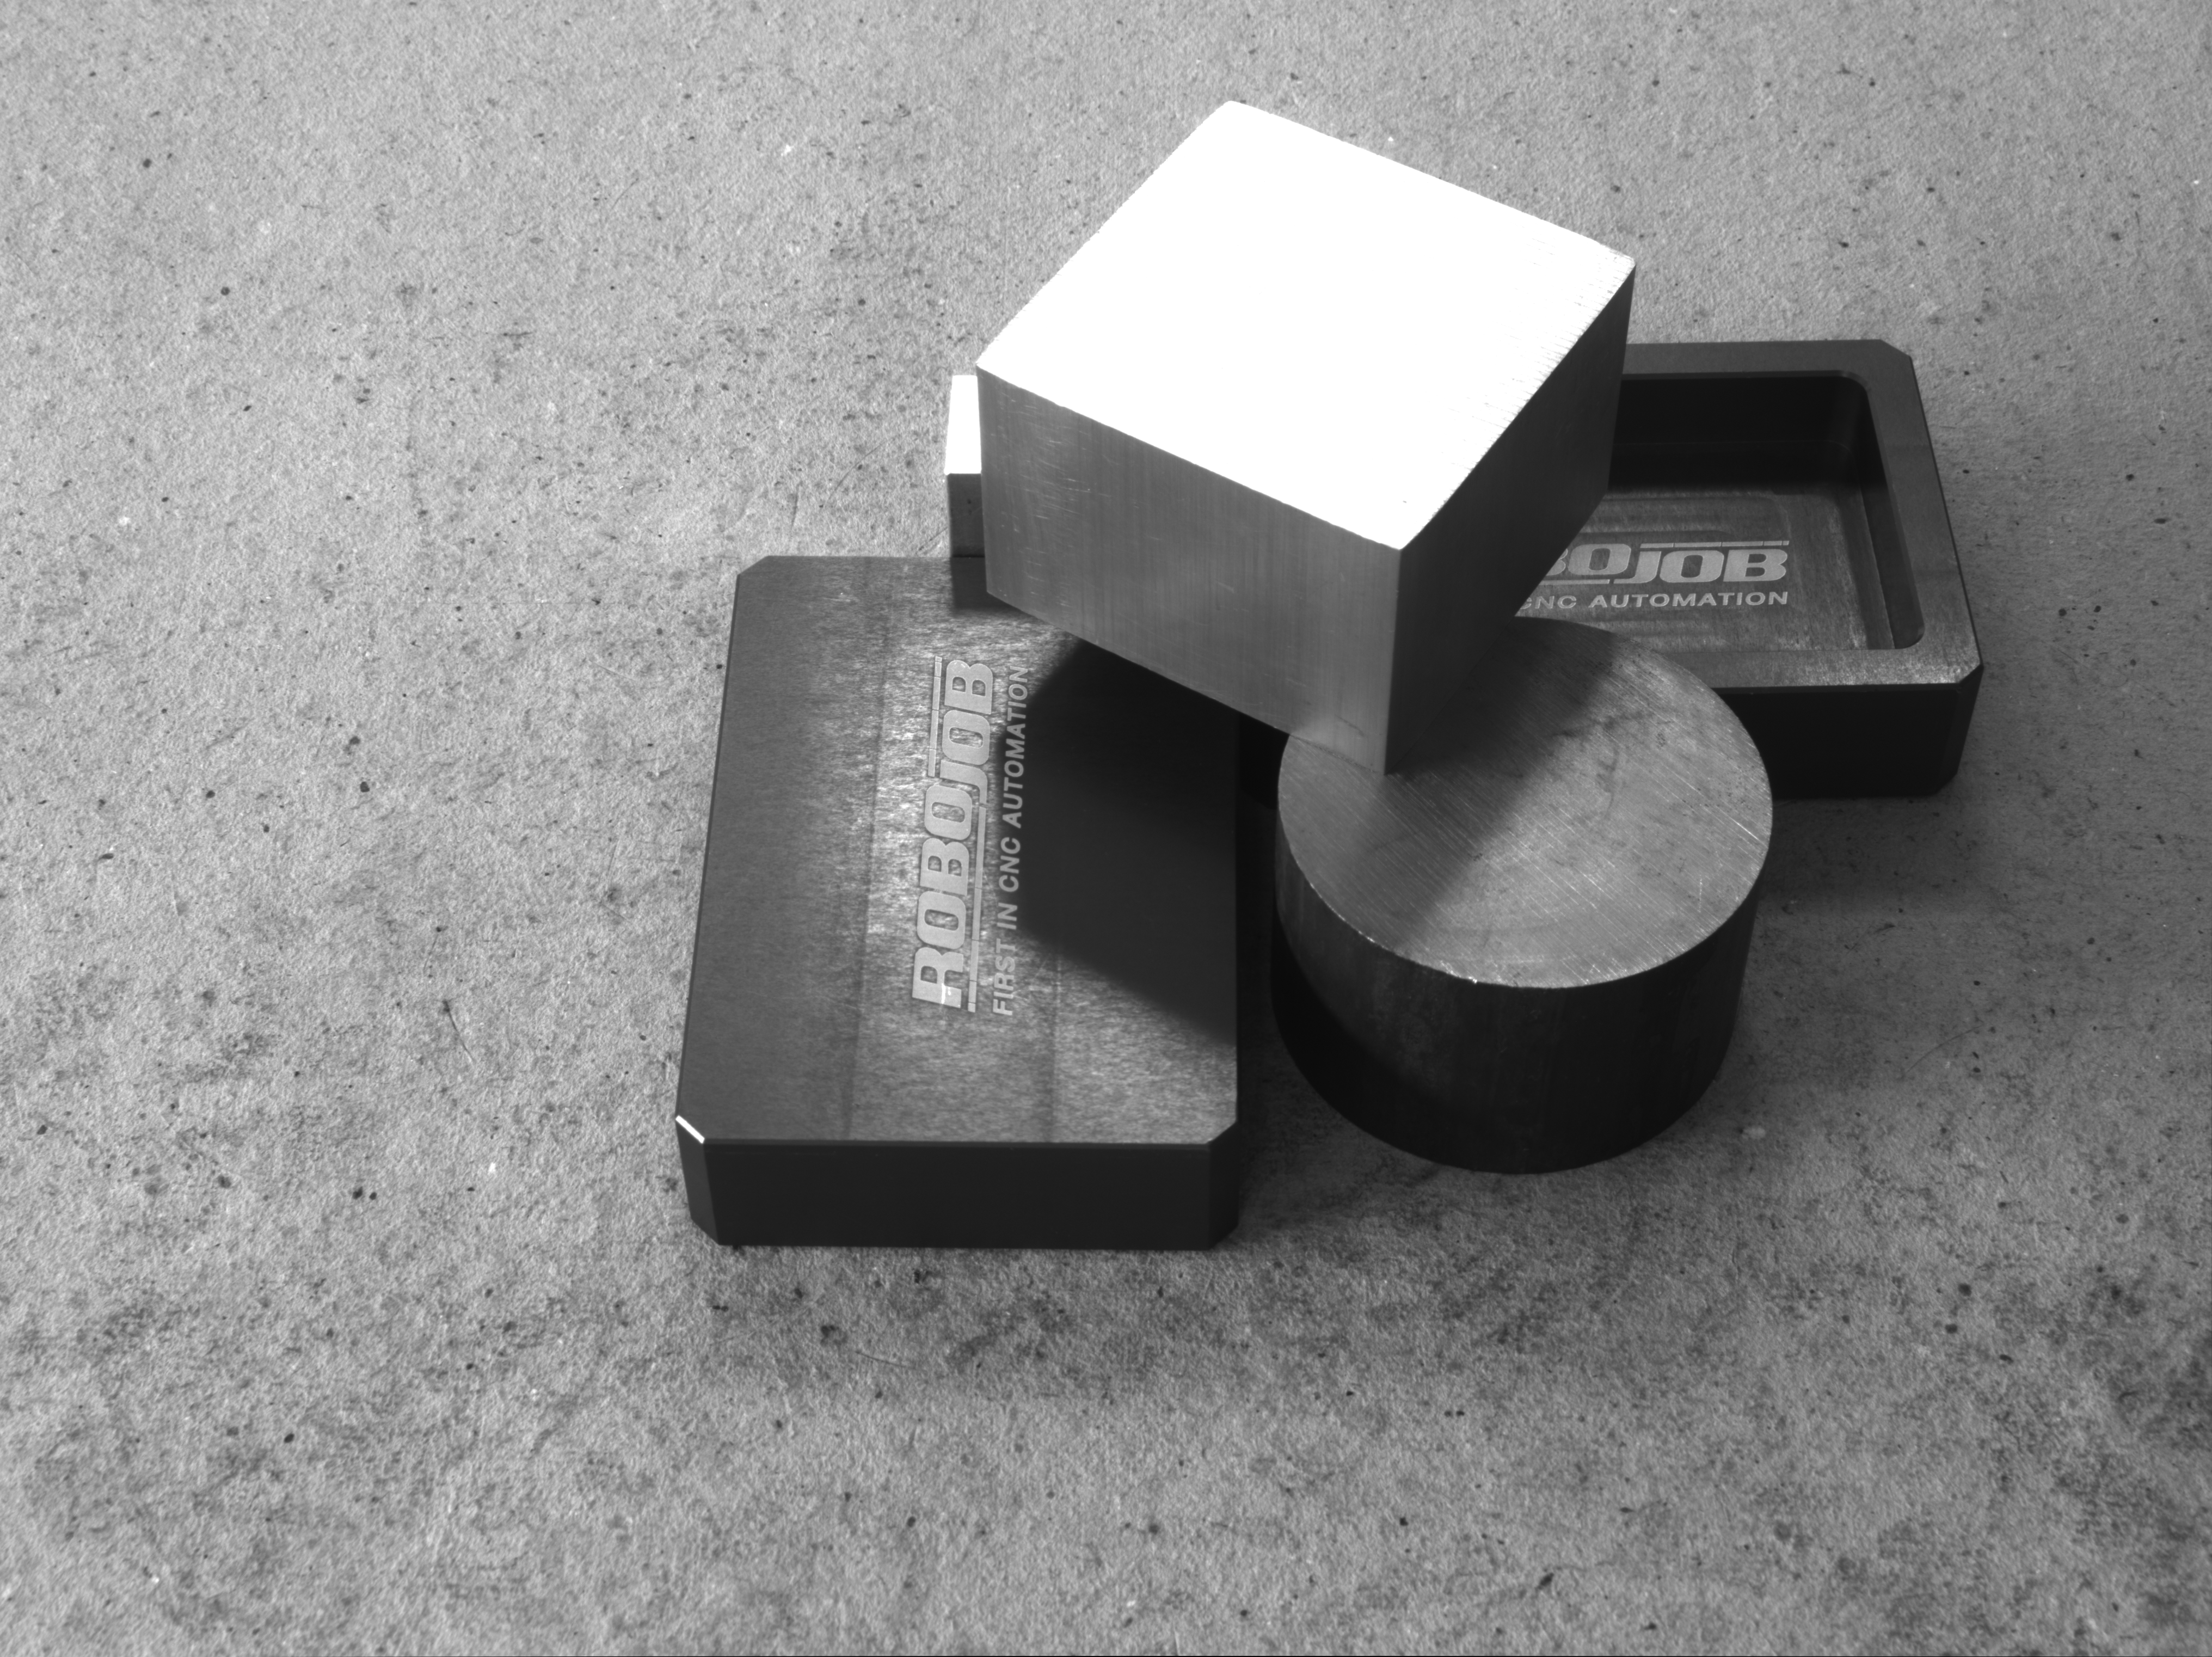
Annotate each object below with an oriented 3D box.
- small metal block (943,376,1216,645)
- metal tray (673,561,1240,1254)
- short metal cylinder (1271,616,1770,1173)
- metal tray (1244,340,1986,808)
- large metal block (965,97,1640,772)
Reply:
[{"bbox_3d":[-0.003,-0.056,0.674,0.050,0.050,0.025,1,50,1],"label":"small metal block"},{"bbox_3d":[-0.023,0.011,0.632,0.090,0.030,0.130,0,50,1],"label":"metal tray"},{"bbox_3d":[0.068,0.011,0.617,0.080,0.050,0.080,0,50,1],"label":"short metal cylinder"},{"bbox_3d":[0.089,-0.048,0.680,0.130,0.030,0.090,-1,50,-1],"label":"metal tray"},{"bbox_3d":[0.033,-0.068,0.616,0.080,0.050,0.080,26,55,21],"label":"large metal block"}]
